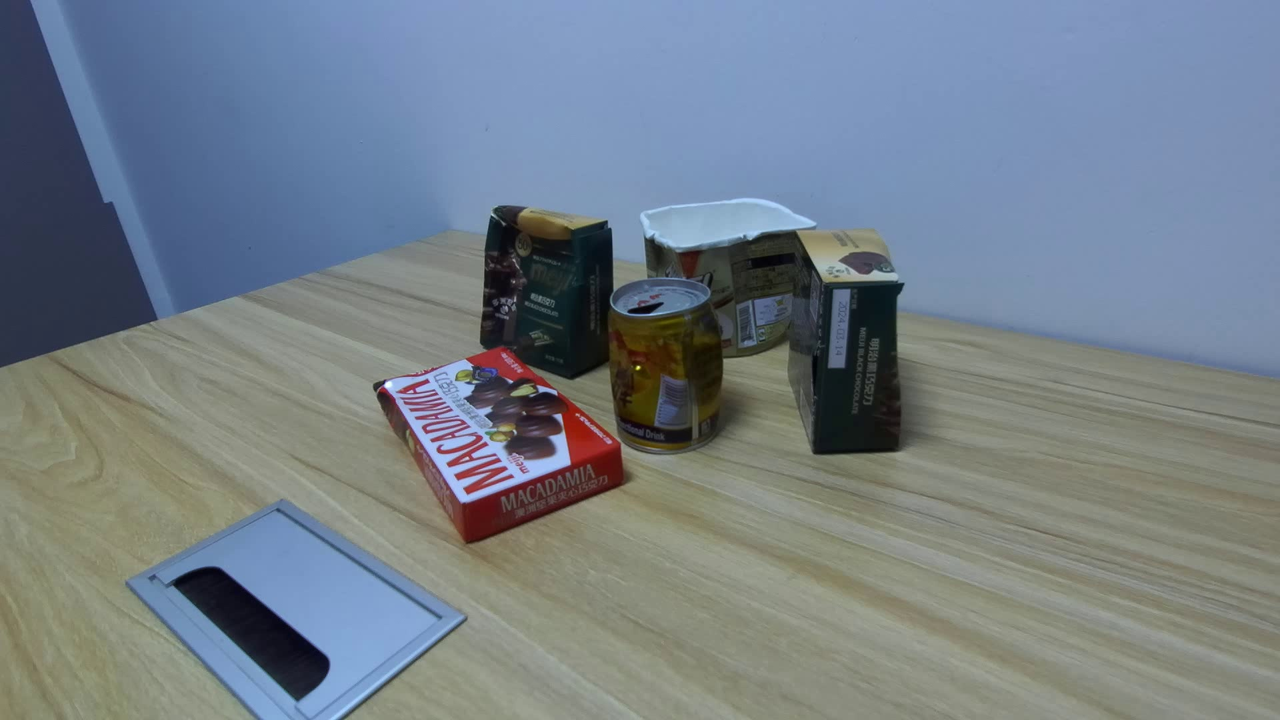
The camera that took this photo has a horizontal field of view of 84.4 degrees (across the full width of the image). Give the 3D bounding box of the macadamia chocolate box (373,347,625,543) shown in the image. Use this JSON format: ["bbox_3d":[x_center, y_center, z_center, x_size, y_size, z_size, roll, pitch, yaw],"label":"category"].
[{"bbox_3d":[-0.095,0.041,0.450,0.106,0.028,0.182,-18,28,-27],"label":"macadamia chocolate box"}]

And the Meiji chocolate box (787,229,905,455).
[{"bbox_3d":[0.128,-0.015,0.436,0.058,0.111,0.113,-1,25,4],"label":"Meiji chocolate box"}]

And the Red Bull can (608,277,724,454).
[{"bbox_3d":[0.014,0.002,0.432,0.072,0.092,0.072,-2,27,2],"label":"Red Bull can"}]

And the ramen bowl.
[{"bbox_3d":[0.059,-0.072,0.575,0.114,0.098,0.133,-18,30,-24],"label":"ramen bowl"}]

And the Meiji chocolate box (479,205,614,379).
[{"bbox_3d":[-0.072,-0.056,0.549,0.116,0.117,0.052,17,24,37],"label":"Meiji chocolate box"}]
